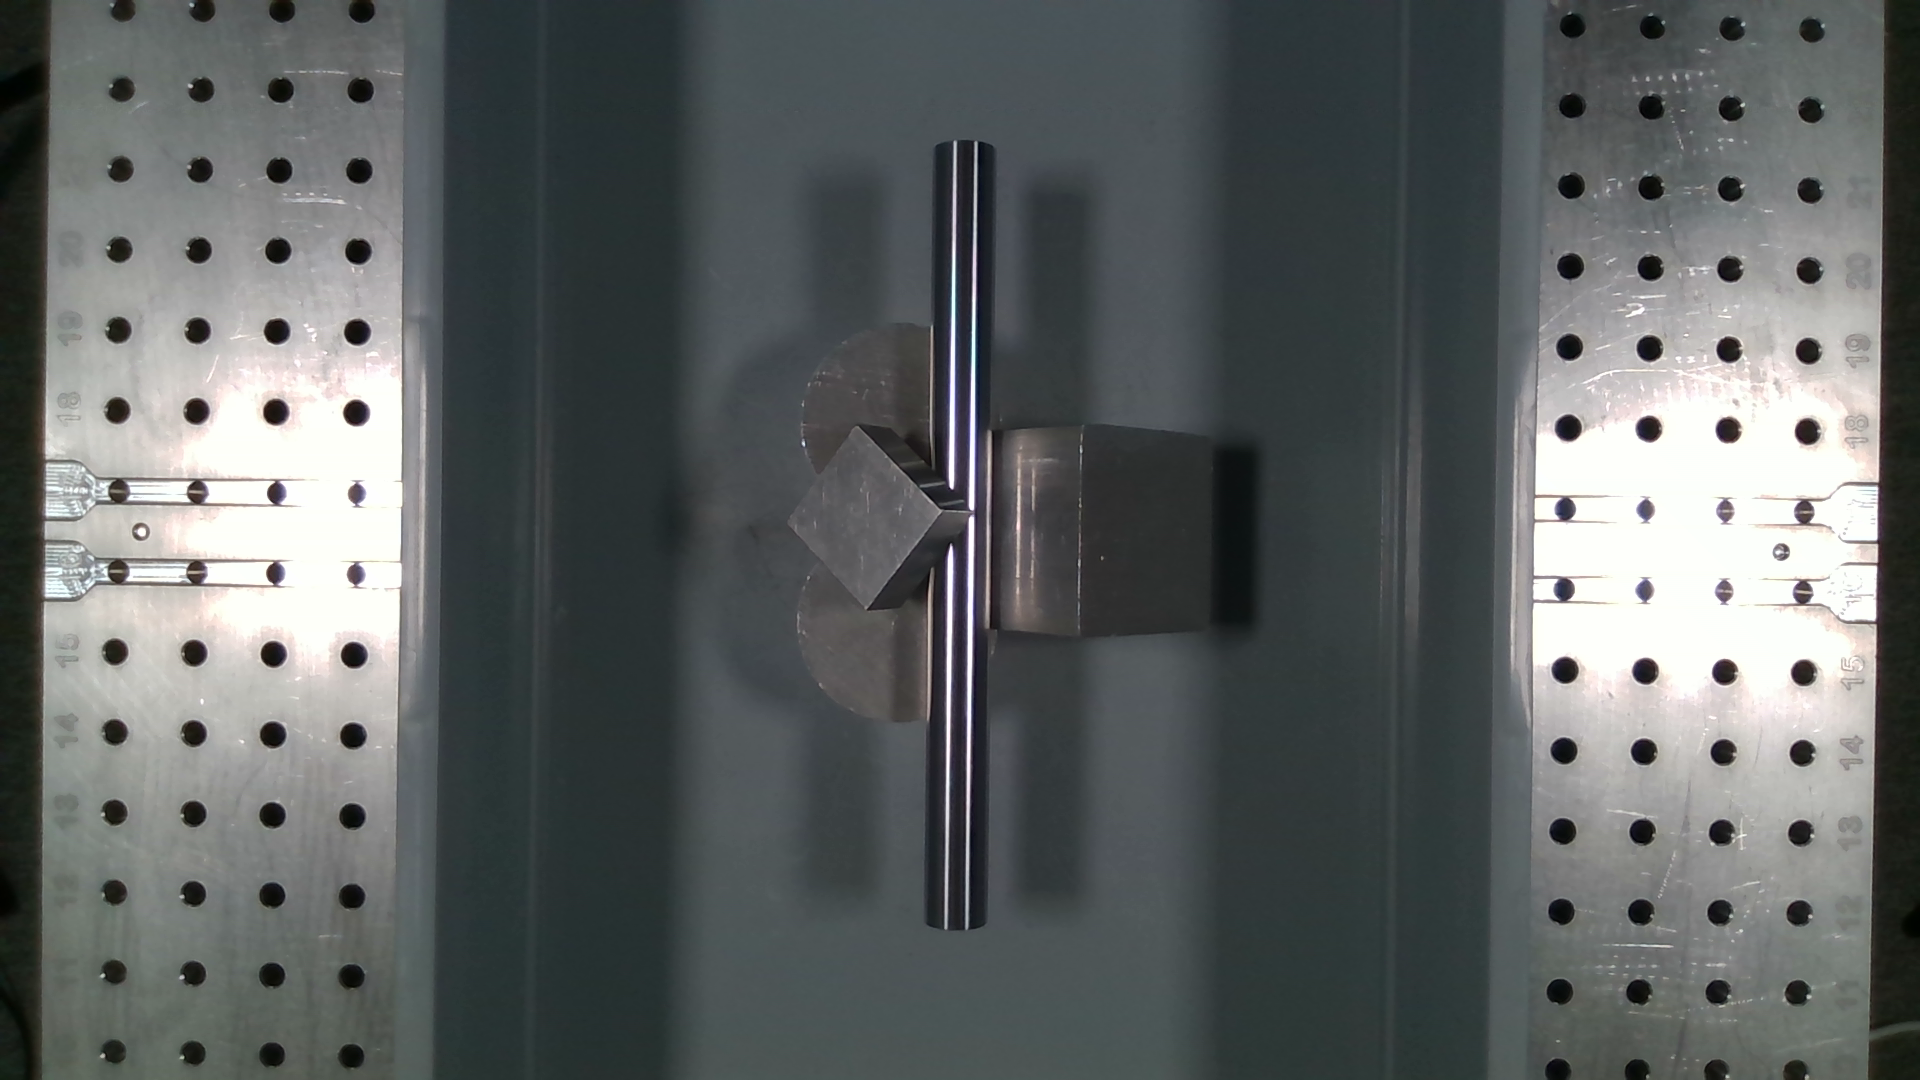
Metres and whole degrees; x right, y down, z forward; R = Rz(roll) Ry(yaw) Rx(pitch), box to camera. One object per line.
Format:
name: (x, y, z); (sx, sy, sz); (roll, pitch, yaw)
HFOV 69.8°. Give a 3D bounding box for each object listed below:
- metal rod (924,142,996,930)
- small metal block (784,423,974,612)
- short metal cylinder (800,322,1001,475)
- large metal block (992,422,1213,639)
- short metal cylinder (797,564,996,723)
metal rod: (0.000, -0.001, 0.536); (0.025, 0.025, 0.300); (1, 91, 0)
small metal block: (-0.031, -0.008, 0.525); (0.050, 0.025, 0.050); (45, 110, 21)
short metal cylinder: (-0.024, -0.047, 0.573); (0.080, 0.050, 0.080); (0, 90, 0)
large metal block: (0.056, -0.003, 0.553); (0.080, 0.050, 0.080); (1, 90, -43)
short metal cylinder: (-0.025, 0.033, 0.574); (0.080, 0.050, 0.080); (0, 90, 0)
